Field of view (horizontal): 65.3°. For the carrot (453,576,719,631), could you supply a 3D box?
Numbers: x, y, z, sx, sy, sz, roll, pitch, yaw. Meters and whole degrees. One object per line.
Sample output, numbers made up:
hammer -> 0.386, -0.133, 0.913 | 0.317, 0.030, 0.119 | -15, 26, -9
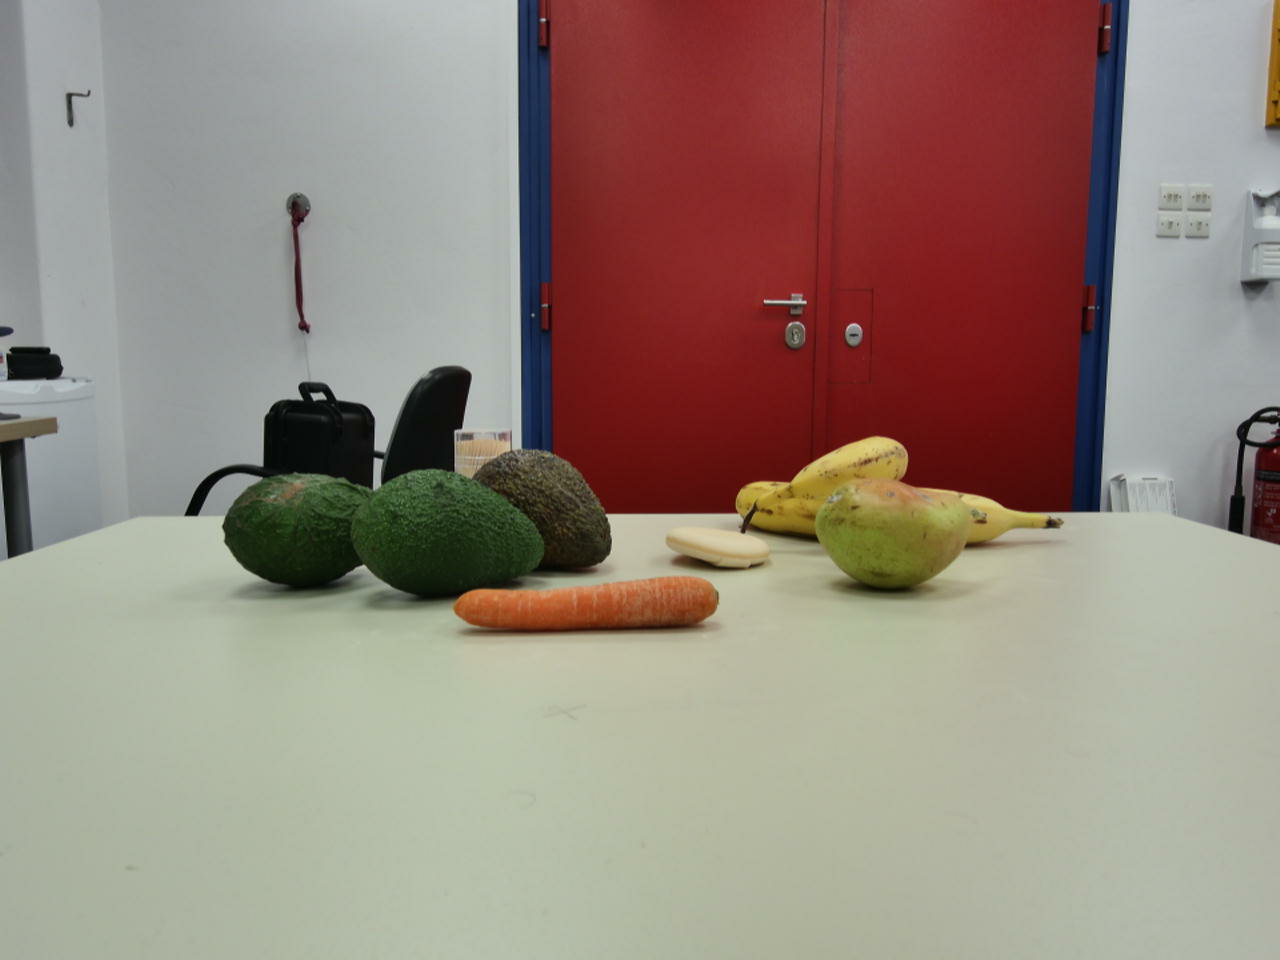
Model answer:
carrot -> -0.024, 0.057, 0.462 | 0.122, 0.023, 0.024 | 0, 4, -4
